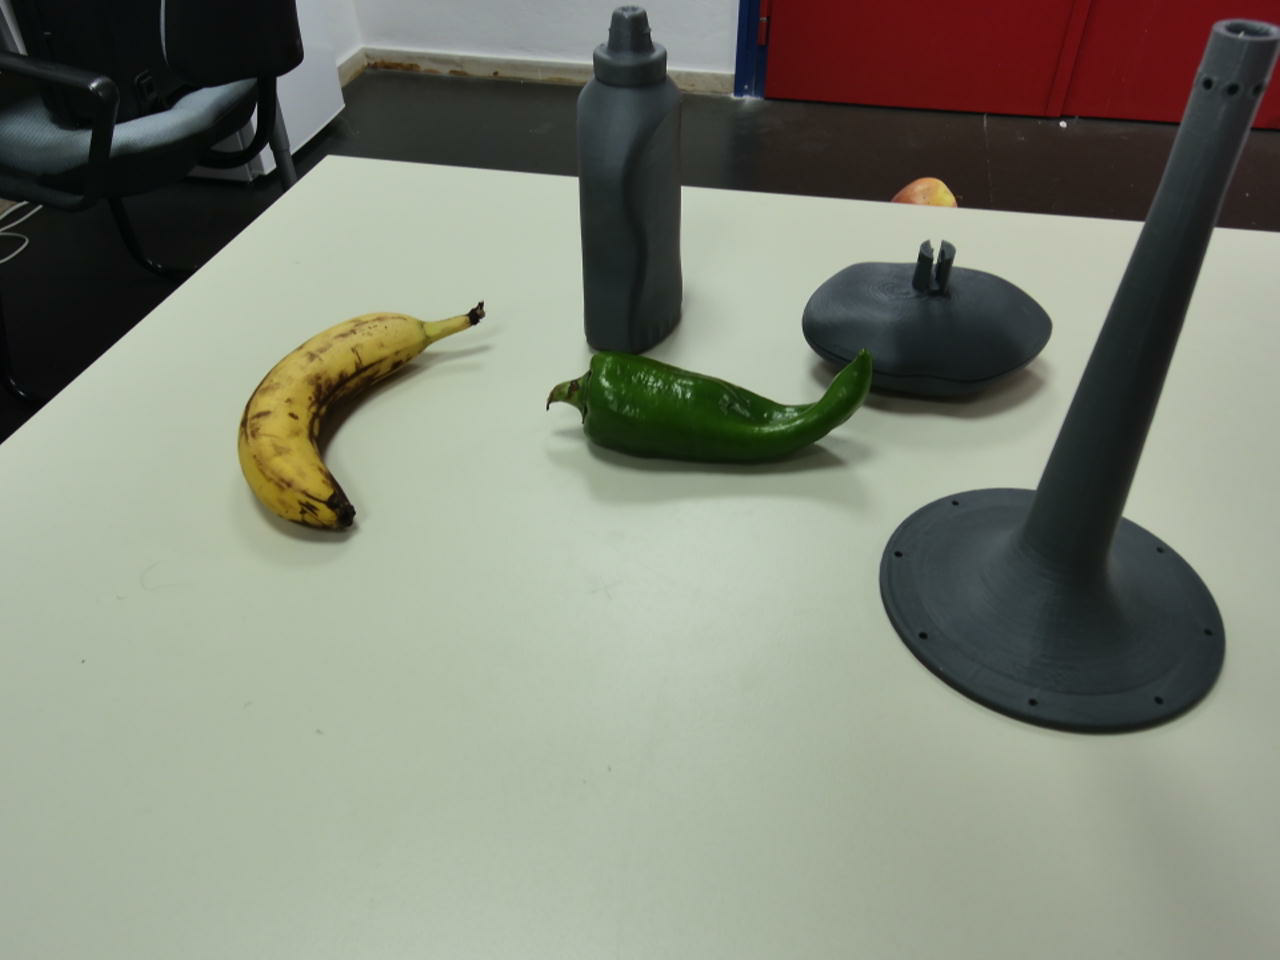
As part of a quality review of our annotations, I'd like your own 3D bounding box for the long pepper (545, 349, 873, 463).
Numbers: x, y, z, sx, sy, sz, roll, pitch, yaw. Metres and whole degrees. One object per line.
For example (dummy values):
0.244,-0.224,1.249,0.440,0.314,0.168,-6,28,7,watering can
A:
0.034,-0.044,0.539,0.175,0.065,0.058,7,39,9,long pepper
